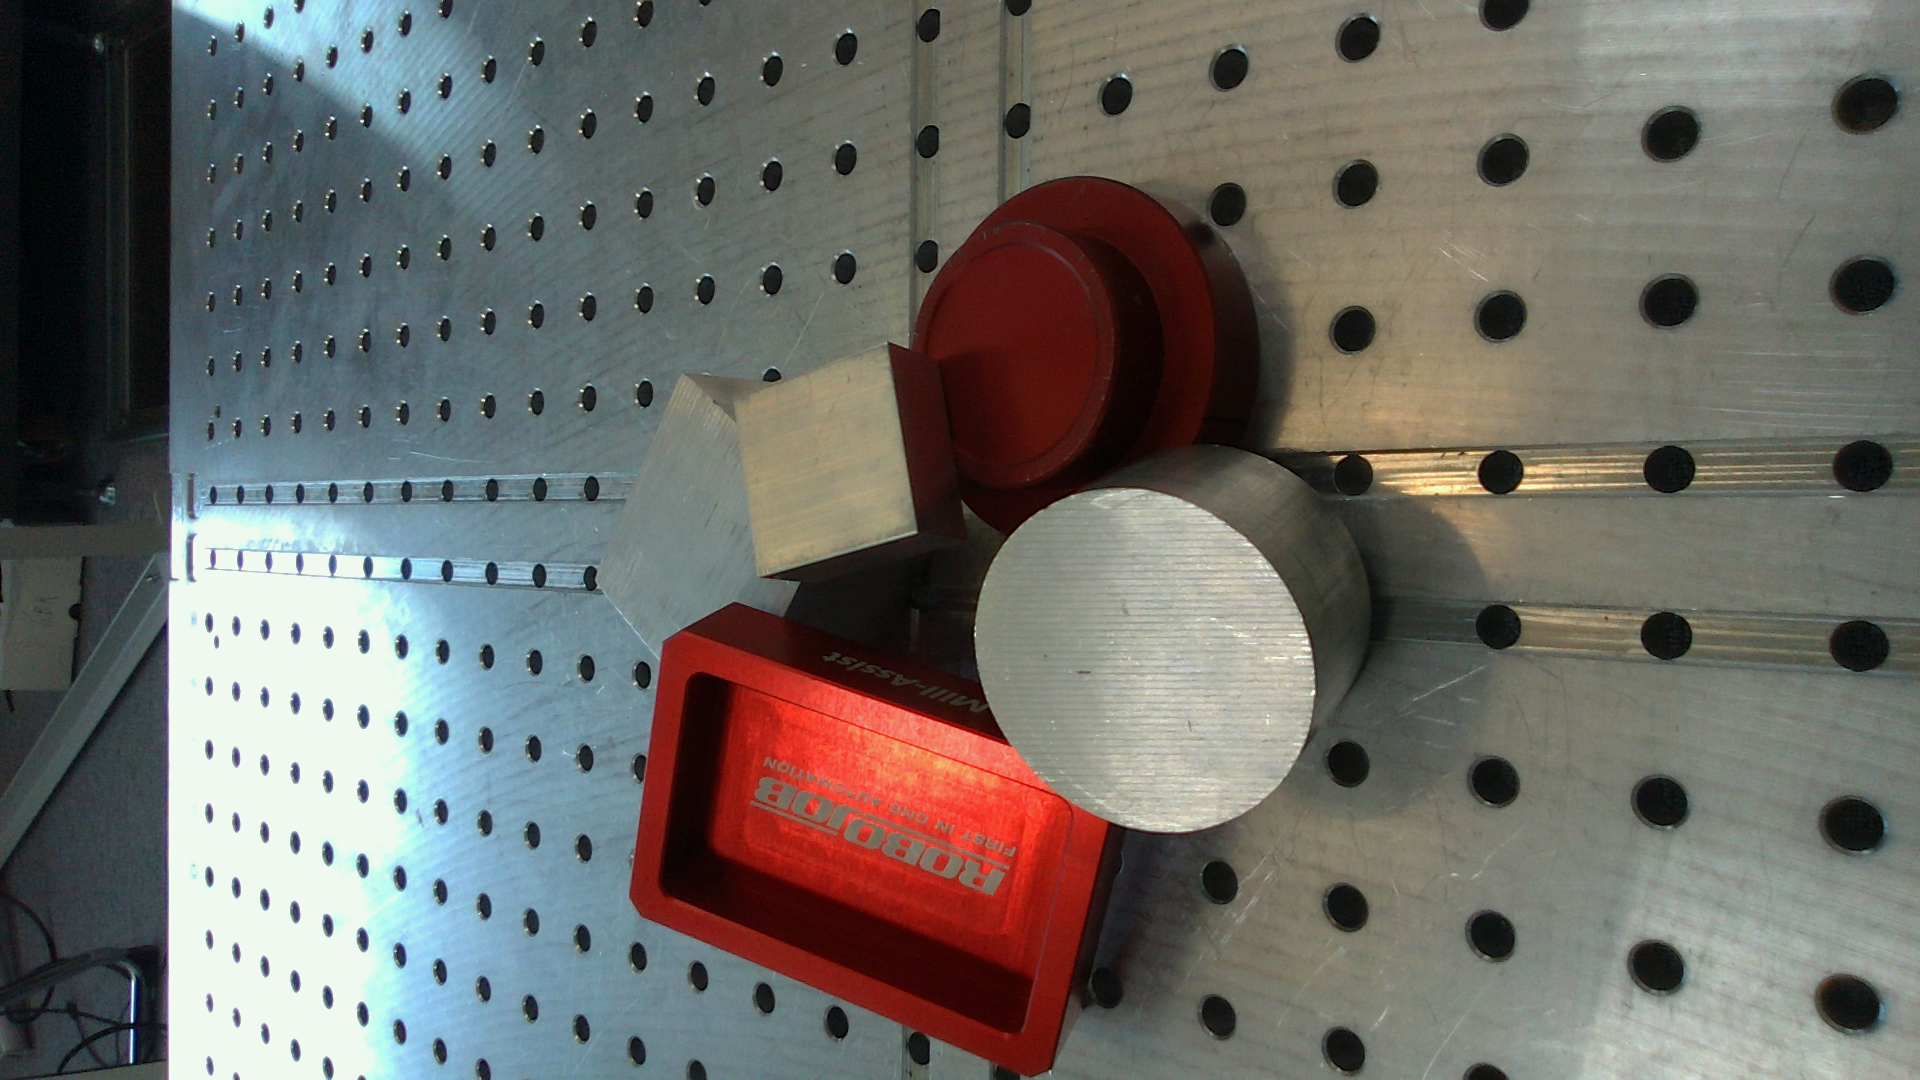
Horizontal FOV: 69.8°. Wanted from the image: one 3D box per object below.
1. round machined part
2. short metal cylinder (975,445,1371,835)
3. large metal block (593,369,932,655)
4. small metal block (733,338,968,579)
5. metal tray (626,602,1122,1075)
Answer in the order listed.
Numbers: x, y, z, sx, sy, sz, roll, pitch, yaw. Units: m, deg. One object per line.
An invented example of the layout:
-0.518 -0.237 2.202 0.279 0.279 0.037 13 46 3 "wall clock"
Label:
0.025 -0.047 0.365 0.098 0.042 0.098 0 90 40 "round machined part"
0.051 0.022 0.324 0.080 0.050 0.080 8 108 27 "short metal cylinder"
-0.061 0.004 0.433 0.080 0.050 0.080 43 116 32 "large metal block"
-0.029 -0.019 0.362 0.050 0.025 0.050 -15 77 28 "small metal block"
-0.024 0.079 0.377 0.130 0.030 0.090 17 109 16 "metal tray"
